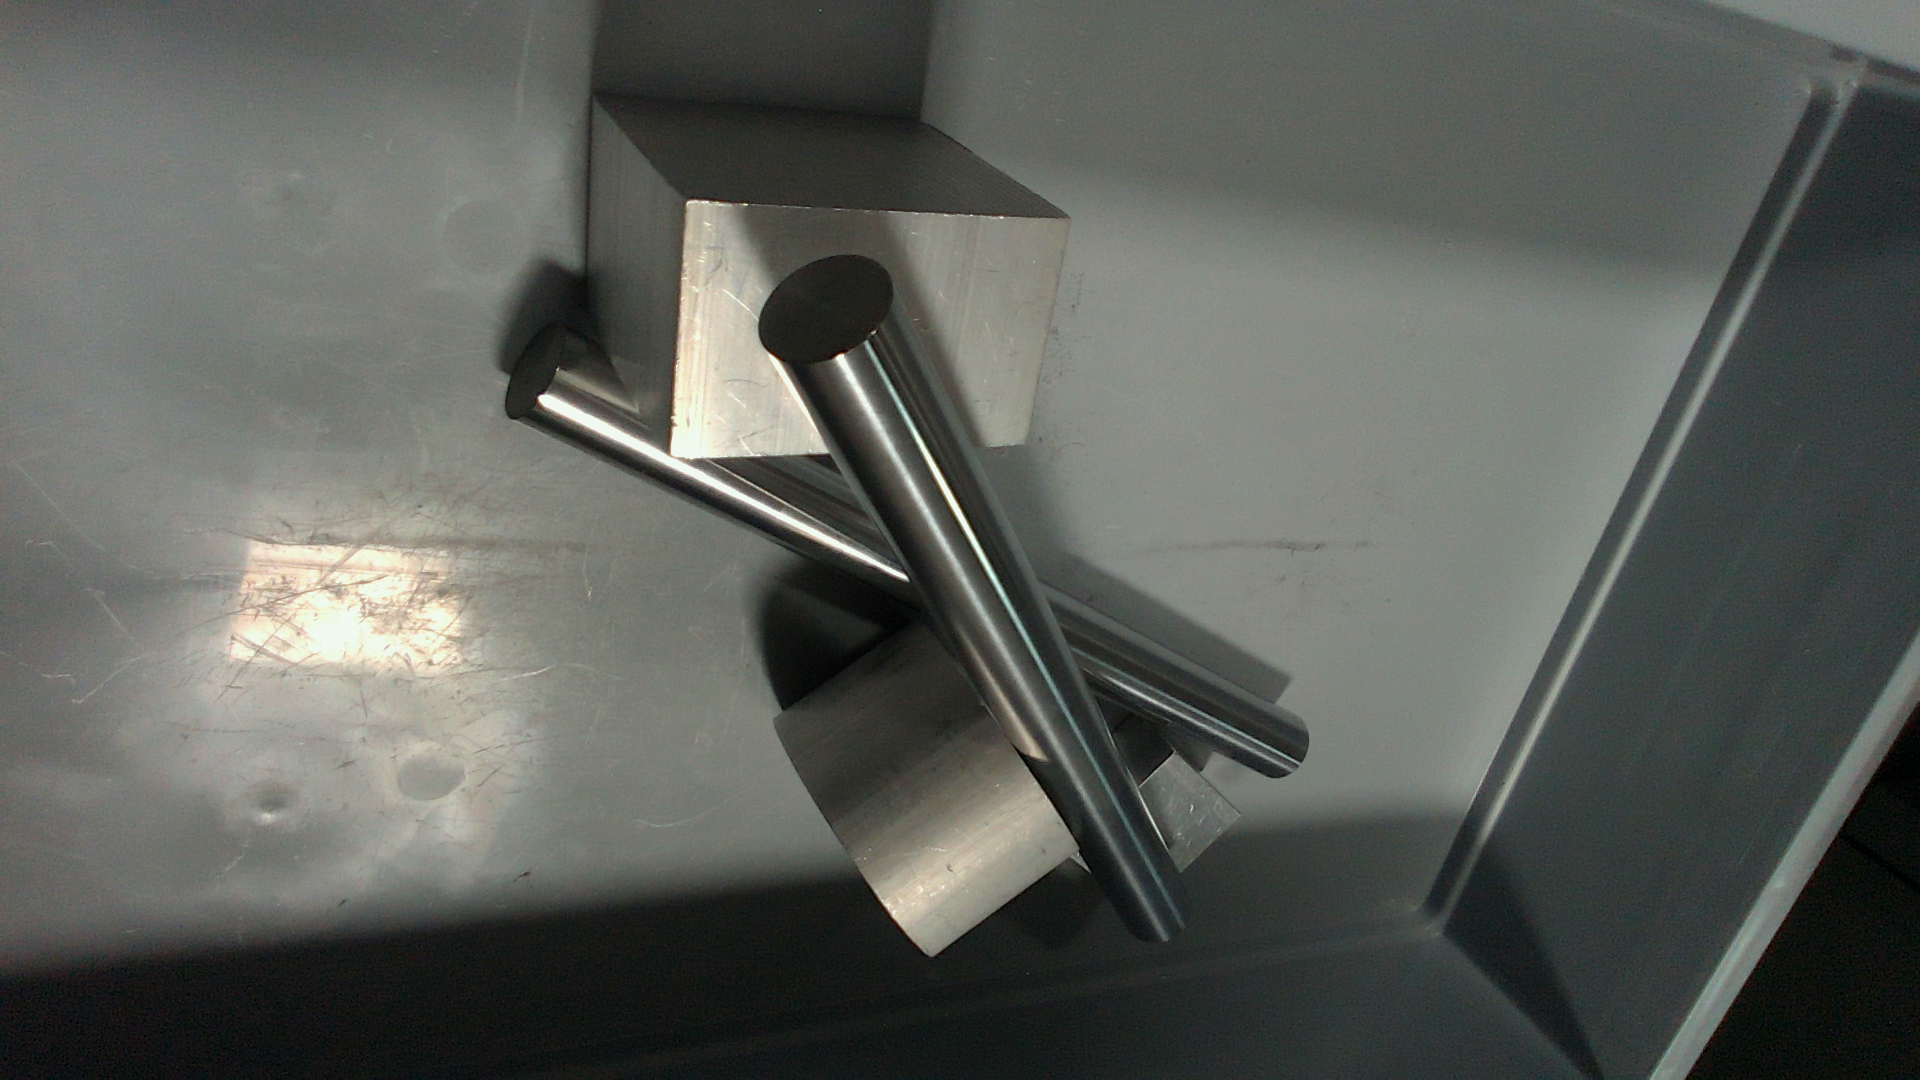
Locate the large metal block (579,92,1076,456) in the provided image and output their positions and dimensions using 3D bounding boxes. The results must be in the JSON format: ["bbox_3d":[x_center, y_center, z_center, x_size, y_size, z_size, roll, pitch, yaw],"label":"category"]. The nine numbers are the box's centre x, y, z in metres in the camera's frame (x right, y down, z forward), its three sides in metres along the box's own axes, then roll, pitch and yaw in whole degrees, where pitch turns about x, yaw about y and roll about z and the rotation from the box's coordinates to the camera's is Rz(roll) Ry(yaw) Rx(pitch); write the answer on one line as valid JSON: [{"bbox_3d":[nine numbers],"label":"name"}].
[{"bbox_3d":[-0.033,-0.059,0.299,0.080,0.080,0.050,-4,120,-26],"label":"large metal block"}]

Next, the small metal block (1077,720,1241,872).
[{"bbox_3d":[0.062,0.095,0.480,0.050,0.025,0.050,-44,129,2],"label":"small metal block"}]

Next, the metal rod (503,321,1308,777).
[{"bbox_3d":[0.009,0.017,0.403,0.301,0.025,0.025,28,103,-37],"label":"metal rod"}]

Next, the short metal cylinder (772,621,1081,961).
[{"bbox_3d":[-0.010,0.070,0.389,0.050,0.080,0.080,-35,129,-5],"label":"short metal cylinder"}]

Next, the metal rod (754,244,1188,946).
[{"bbox_3d":[0.021,0.042,0.350,0.025,0.025,0.301,-35,141,-5],"label":"metal rod"}]
